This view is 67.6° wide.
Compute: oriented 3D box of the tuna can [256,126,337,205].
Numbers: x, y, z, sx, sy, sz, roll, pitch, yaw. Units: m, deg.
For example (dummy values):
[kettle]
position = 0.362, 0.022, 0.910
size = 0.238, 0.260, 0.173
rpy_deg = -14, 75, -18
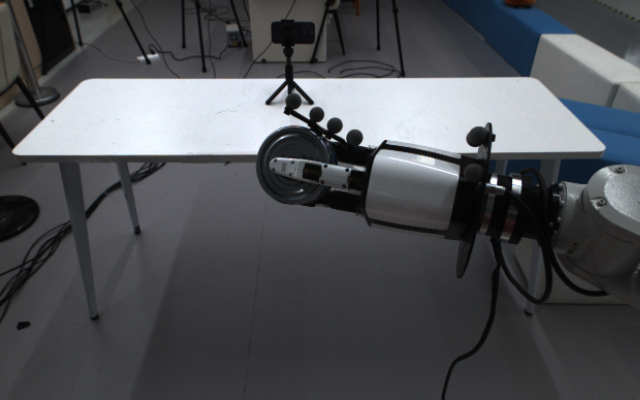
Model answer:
[tuna can]
position = -0.022, -0.031, 0.527
size = 0.085, 0.085, 0.034
rpy_deg = 13, 4, 15
